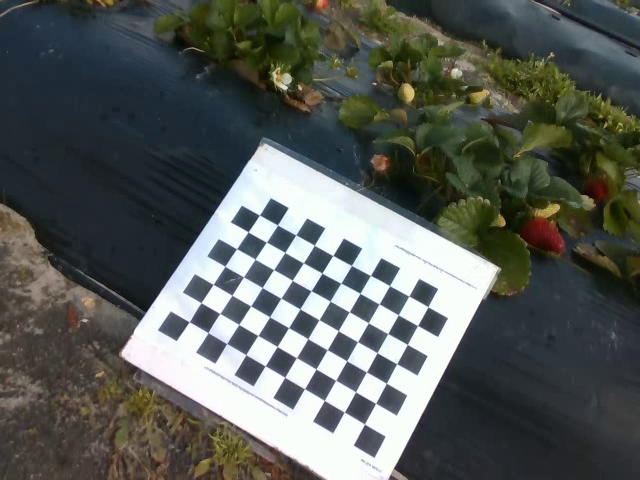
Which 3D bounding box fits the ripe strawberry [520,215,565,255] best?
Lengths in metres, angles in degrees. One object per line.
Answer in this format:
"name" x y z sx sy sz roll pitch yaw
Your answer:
"ripe strawberry" 0.253 -0.012 0.708 0.050 0.064 0.043 -26 -17 -10
